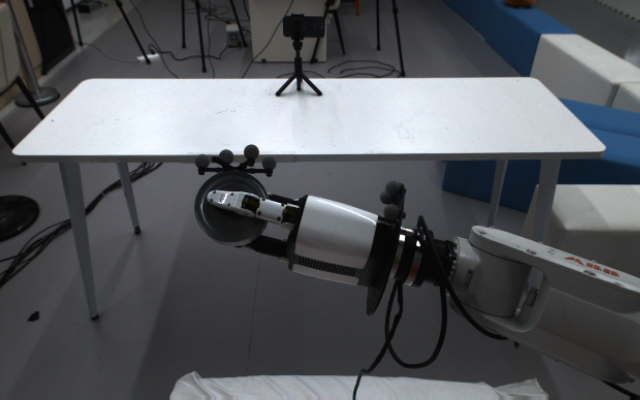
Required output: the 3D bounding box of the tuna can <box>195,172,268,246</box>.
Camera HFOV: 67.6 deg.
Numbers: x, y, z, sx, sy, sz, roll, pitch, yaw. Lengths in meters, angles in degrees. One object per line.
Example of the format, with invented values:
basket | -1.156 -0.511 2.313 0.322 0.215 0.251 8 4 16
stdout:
tuna can | -0.099 0.014 0.562 0.085 0.034 0.085 1 70 -4
